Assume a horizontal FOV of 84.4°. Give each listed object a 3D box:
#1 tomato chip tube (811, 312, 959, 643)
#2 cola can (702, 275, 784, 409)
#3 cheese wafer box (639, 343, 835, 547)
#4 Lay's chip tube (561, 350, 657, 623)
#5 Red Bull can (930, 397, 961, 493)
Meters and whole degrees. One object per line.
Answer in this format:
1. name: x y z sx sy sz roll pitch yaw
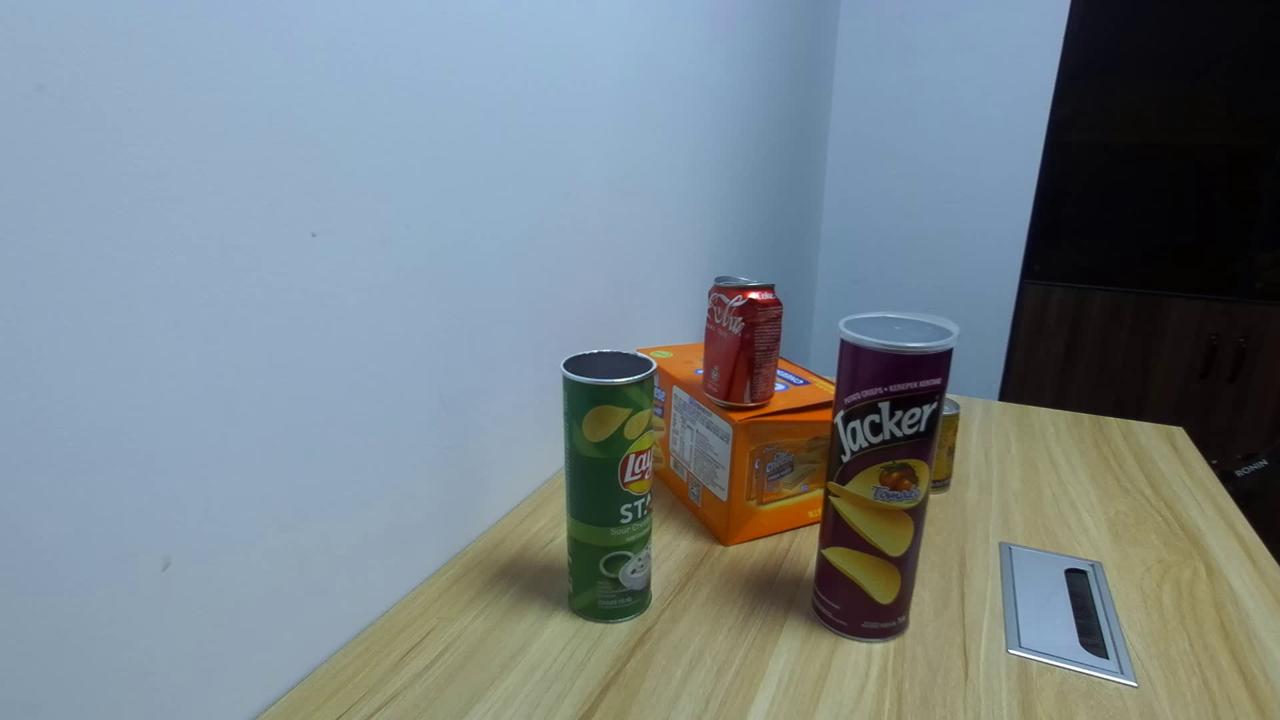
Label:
1. tomato chip tube: 0.176 0.089 0.523 0.078 0.234 0.078 0 19 0
2. cola can: 0.090 -0.016 0.625 0.065 0.112 0.069 -1 19 -4
3. cheese wafer box: 0.102 0.070 0.745 0.150 0.137 0.226 -6 19 -24
4. Lay's chip tube: -0.023 0.097 0.543 0.071 0.202 0.071 0 19 0
5. Red Bull can: 0.315 0.091 0.776 0.069 0.092 0.069 1 17 0
